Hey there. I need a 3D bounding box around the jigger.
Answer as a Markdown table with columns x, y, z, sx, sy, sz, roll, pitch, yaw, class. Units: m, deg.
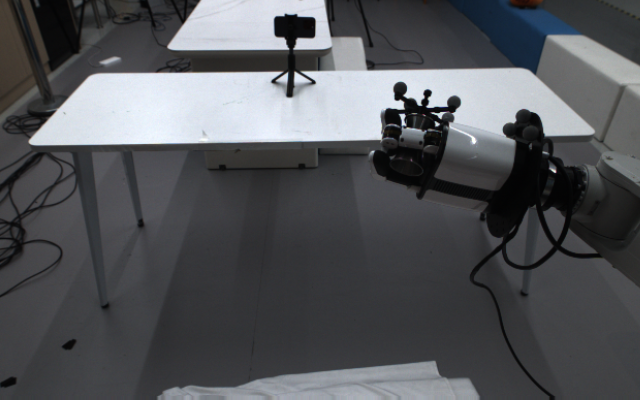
| x | y | z | sx | sy | sz | roll | pitch | yaw | class |
| --- | --- | --- | --- | --- | --- | --- | --- | --- | --- |
| 0.120 | -0.070 | 0.615 | 0.043 | 0.043 | 0.071 | 13 | 72 | 15 | jigger |
